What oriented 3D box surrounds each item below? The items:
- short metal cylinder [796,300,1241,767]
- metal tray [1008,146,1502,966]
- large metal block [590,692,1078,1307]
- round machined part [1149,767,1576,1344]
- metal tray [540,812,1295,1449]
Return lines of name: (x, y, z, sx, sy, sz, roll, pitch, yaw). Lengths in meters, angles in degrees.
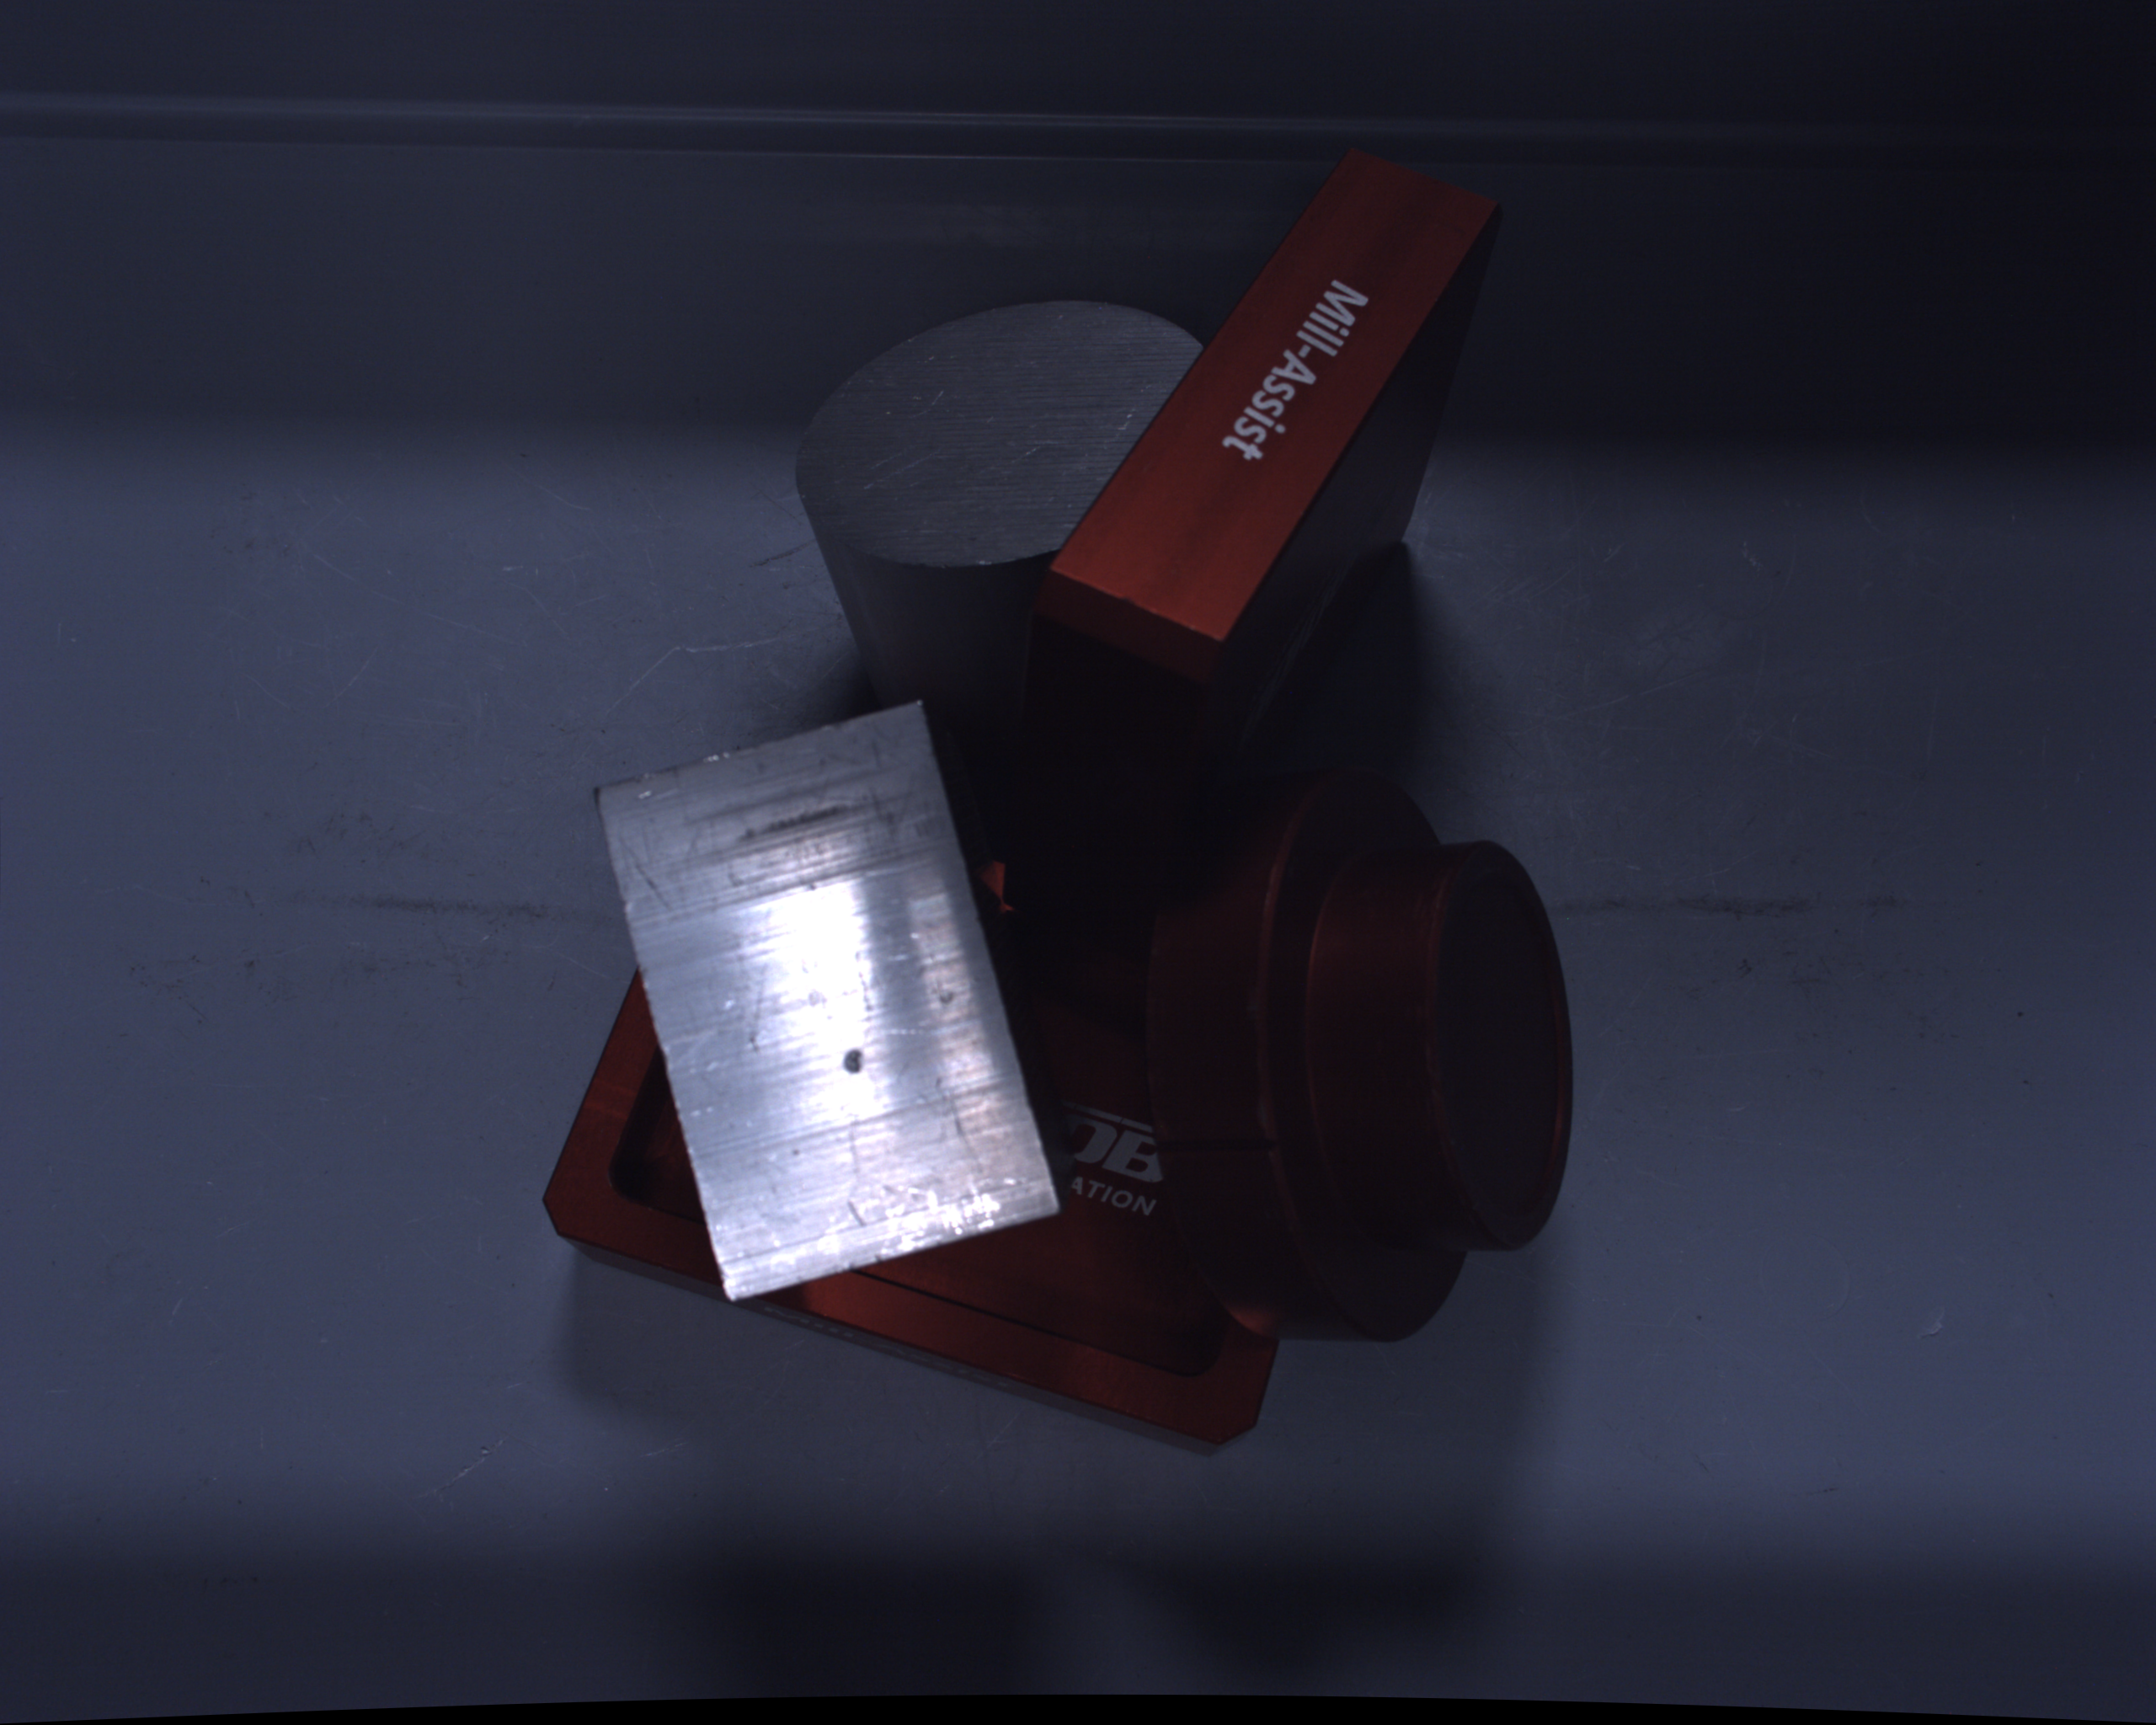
short metal cylinder: (-0.008, -0.064, 0.402, 0.080, 0.050, 0.080, -7, 47, 8)
metal tray: (0.032, -0.056, 0.378, 0.030, 0.089, 0.130, 24, 56, 11)
large metal block: (-0.036, 0.022, 0.346, 0.050, 0.080, 0.080, -16, 87, 0)
round machined part: (0.054, 0.032, 0.355, 0.042, 0.098, 0.098, -6, 67, 30)
metal tray: (-0.020, 0.046, 0.387, 0.131, 0.030, 0.090, 16, 71, 6)
